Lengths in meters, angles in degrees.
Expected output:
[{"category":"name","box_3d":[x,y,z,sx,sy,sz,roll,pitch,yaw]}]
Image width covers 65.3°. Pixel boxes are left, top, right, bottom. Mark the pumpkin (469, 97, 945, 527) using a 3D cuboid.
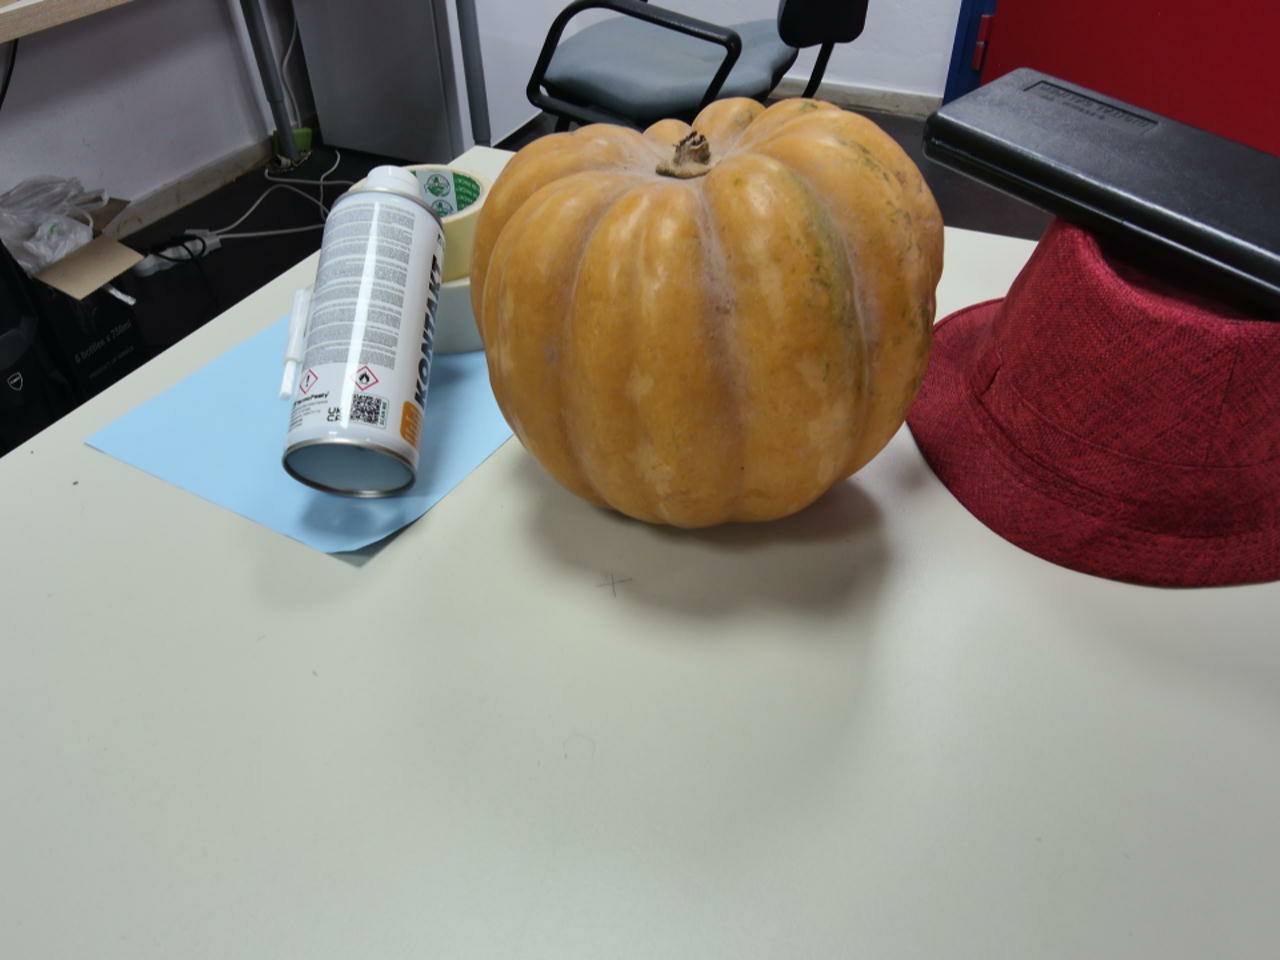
[{"category":"pumpkin","box_3d":[0.033,-0.082,0.491,0.230,0.194,0.230,0,38,0]}]
